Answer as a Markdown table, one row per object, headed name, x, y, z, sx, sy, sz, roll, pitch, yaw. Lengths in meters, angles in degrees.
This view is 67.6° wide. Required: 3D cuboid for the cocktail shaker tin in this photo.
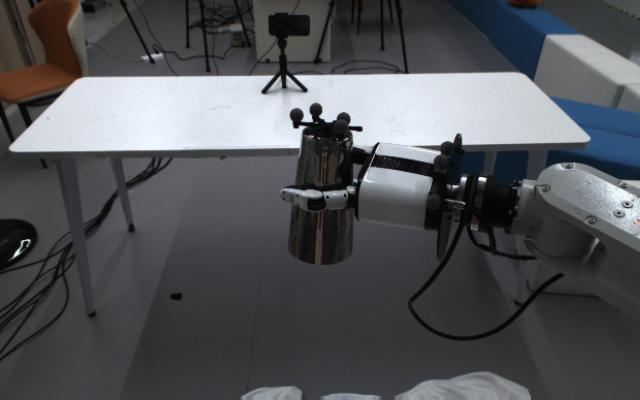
| name | x | y | z | sx | sy | sz | roll | pitch | yaw |
| --- | --- | --- | --- | --- | --- | --- | --- | --- | --- |
| cocktail shaker tin | 0.006 | -0.010 | 0.650 | 0.093 | 0.170 | 0.093 | 2 | 26 | -1 |
